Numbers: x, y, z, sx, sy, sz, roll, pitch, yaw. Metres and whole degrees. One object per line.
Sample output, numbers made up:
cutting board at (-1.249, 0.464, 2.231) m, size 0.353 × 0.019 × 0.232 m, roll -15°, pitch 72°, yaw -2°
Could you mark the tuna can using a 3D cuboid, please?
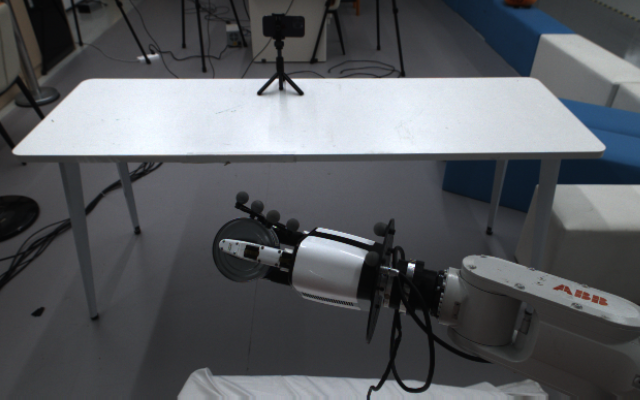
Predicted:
tuna can at (-0.096, 0.067, 0.648) m, size 0.085 × 0.085 × 0.034 m, roll 10°, pitch -4°, yaw 11°
